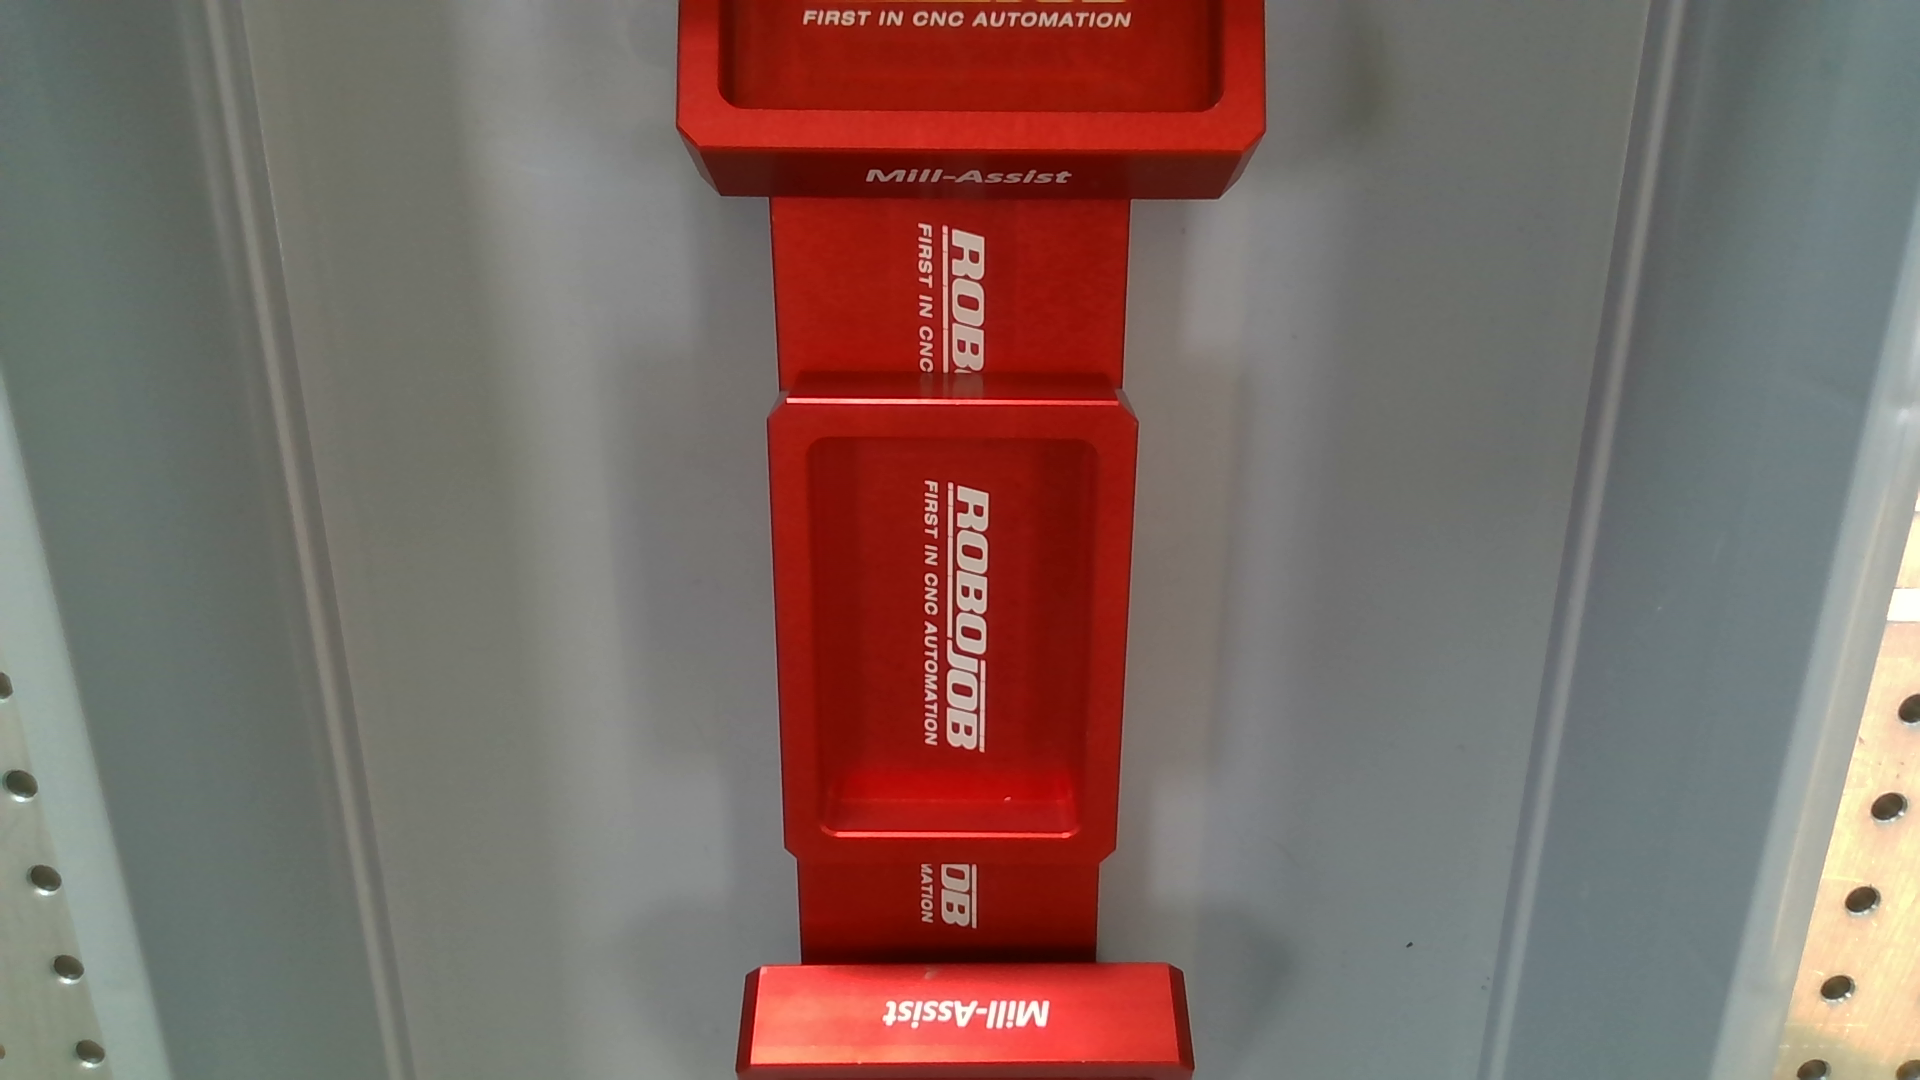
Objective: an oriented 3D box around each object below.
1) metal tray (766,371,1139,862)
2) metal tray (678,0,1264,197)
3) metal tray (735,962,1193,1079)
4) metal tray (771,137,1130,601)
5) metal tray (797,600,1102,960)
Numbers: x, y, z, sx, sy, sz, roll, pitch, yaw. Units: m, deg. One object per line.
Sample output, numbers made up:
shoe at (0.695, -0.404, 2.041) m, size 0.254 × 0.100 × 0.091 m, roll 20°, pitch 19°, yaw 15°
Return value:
metal tray at (-0.002, 0.022, 0.365) m, size 0.090 × 0.030 × 0.130 m, roll 0°, pitch 110°, yaw -1°
metal tray at (0.003, -0.130, 0.323) m, size 0.130 × 0.030 × 0.090 m, roll 0°, pitch 85°, yaw 0°
metal tray at (0.001, 0.166, 0.430) m, size 0.130 × 0.030 × 0.090 m, roll 0°, pitch 138°, yaw 0°
metal tray at (-0.003, -0.049, 0.373) m, size 0.090 × 0.030 × 0.130 m, roll 0°, pitch 110°, yaw 0°
metal tray at (-0.004, 0.074, 0.417) m, size 0.090 × 0.030 × 0.130 m, roll 0°, pitch 110°, yaw 0°
